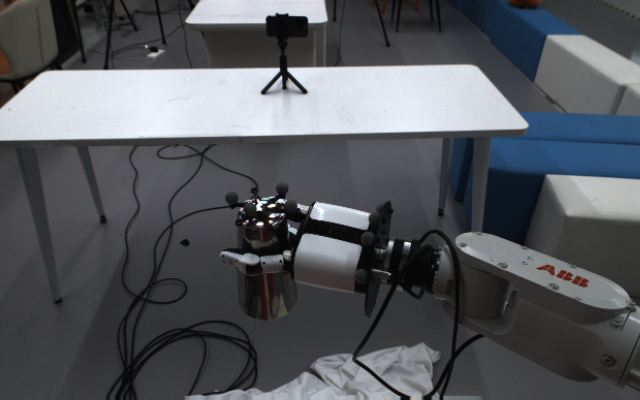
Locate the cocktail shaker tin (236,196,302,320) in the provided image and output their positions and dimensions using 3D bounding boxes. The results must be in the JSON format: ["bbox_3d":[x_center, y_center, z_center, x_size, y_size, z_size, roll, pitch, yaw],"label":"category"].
[{"bbox_3d":[-0.076,0.081,0.702,0.093,0.170,0.093,1,39,0],"label":"cocktail shaker tin"}]
